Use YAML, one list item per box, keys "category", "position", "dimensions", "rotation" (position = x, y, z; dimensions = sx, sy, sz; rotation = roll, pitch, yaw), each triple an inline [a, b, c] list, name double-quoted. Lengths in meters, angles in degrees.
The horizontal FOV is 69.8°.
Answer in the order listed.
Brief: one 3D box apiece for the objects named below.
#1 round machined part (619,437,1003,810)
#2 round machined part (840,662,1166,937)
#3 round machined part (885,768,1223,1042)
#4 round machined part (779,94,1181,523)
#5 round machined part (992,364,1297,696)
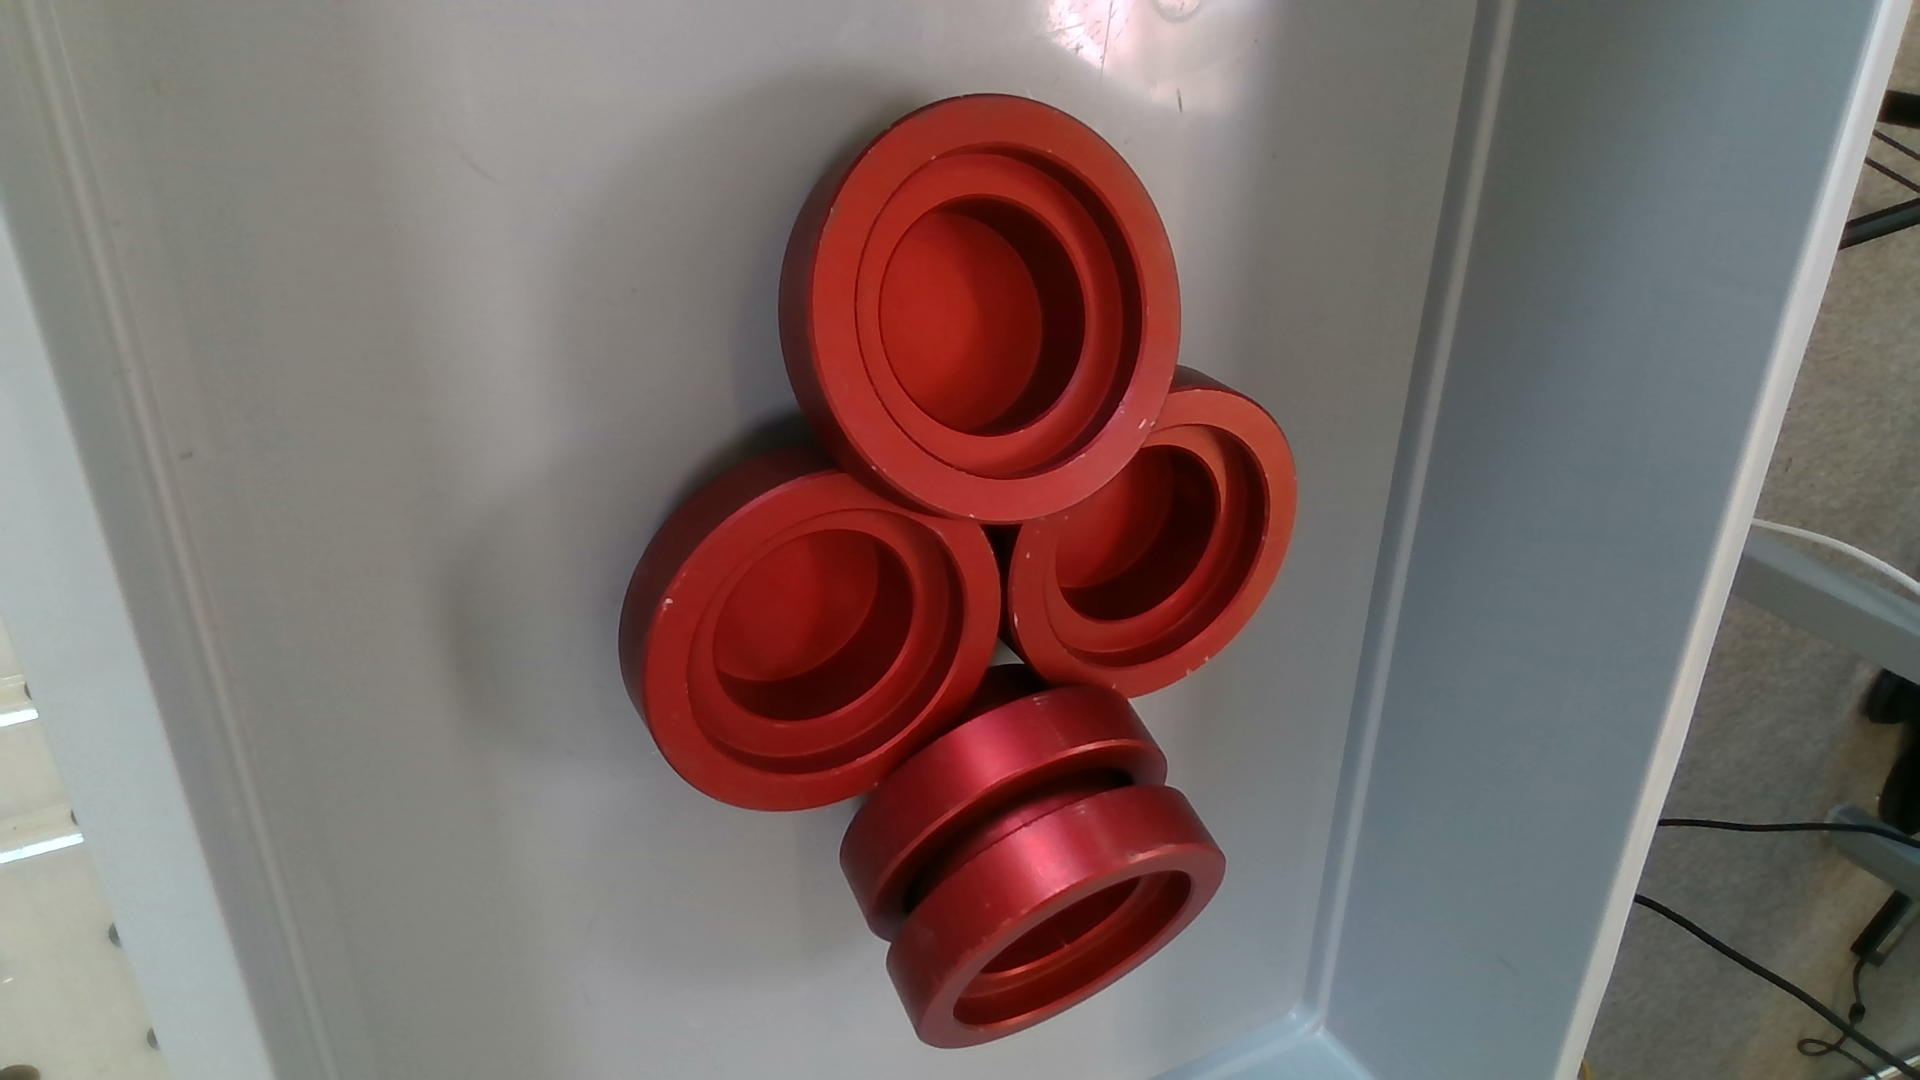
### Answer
- category: "round machined part"
  position: [-0.041, 0.018, 0.361]
  dimensions: [0.098, 0.042, 0.098]
  rotation: [-14, 122, -25]
- category: "round machined part"
  position: [0.009, 0.074, 0.409]
  dimensions: [0.098, 0.042, 0.098]
  rotation: [-22, 146, -16]
- category: "round machined part"
  position: [0.023, 0.099, 0.395]
  dimensions: [0.098, 0.042, 0.098]
  rotation: [-22, 146, -15]
- category: "round machined part"
  position: [0.002, -0.054, 0.336]
  dimensions: [0.098, 0.042, 0.098]
  rotation: [-2, 96, -27]
- category: "round machined part"
  position: [0.047, -0.006, 0.402]
  dimensions: [0.098, 0.042, 0.098]
  rotation: [-14, 122, -25]
